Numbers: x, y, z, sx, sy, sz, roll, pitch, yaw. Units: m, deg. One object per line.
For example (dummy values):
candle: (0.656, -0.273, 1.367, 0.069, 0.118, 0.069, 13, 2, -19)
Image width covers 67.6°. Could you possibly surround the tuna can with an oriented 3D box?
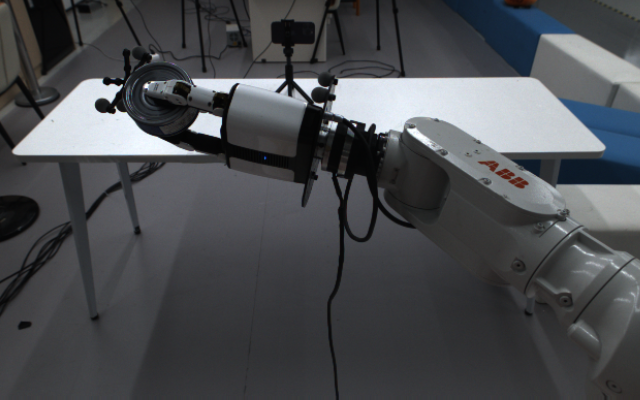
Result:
tuna can: (-0.189, -0.122, 0.582, 0.085, 0.034, 0.085, 0, 76, -1)
